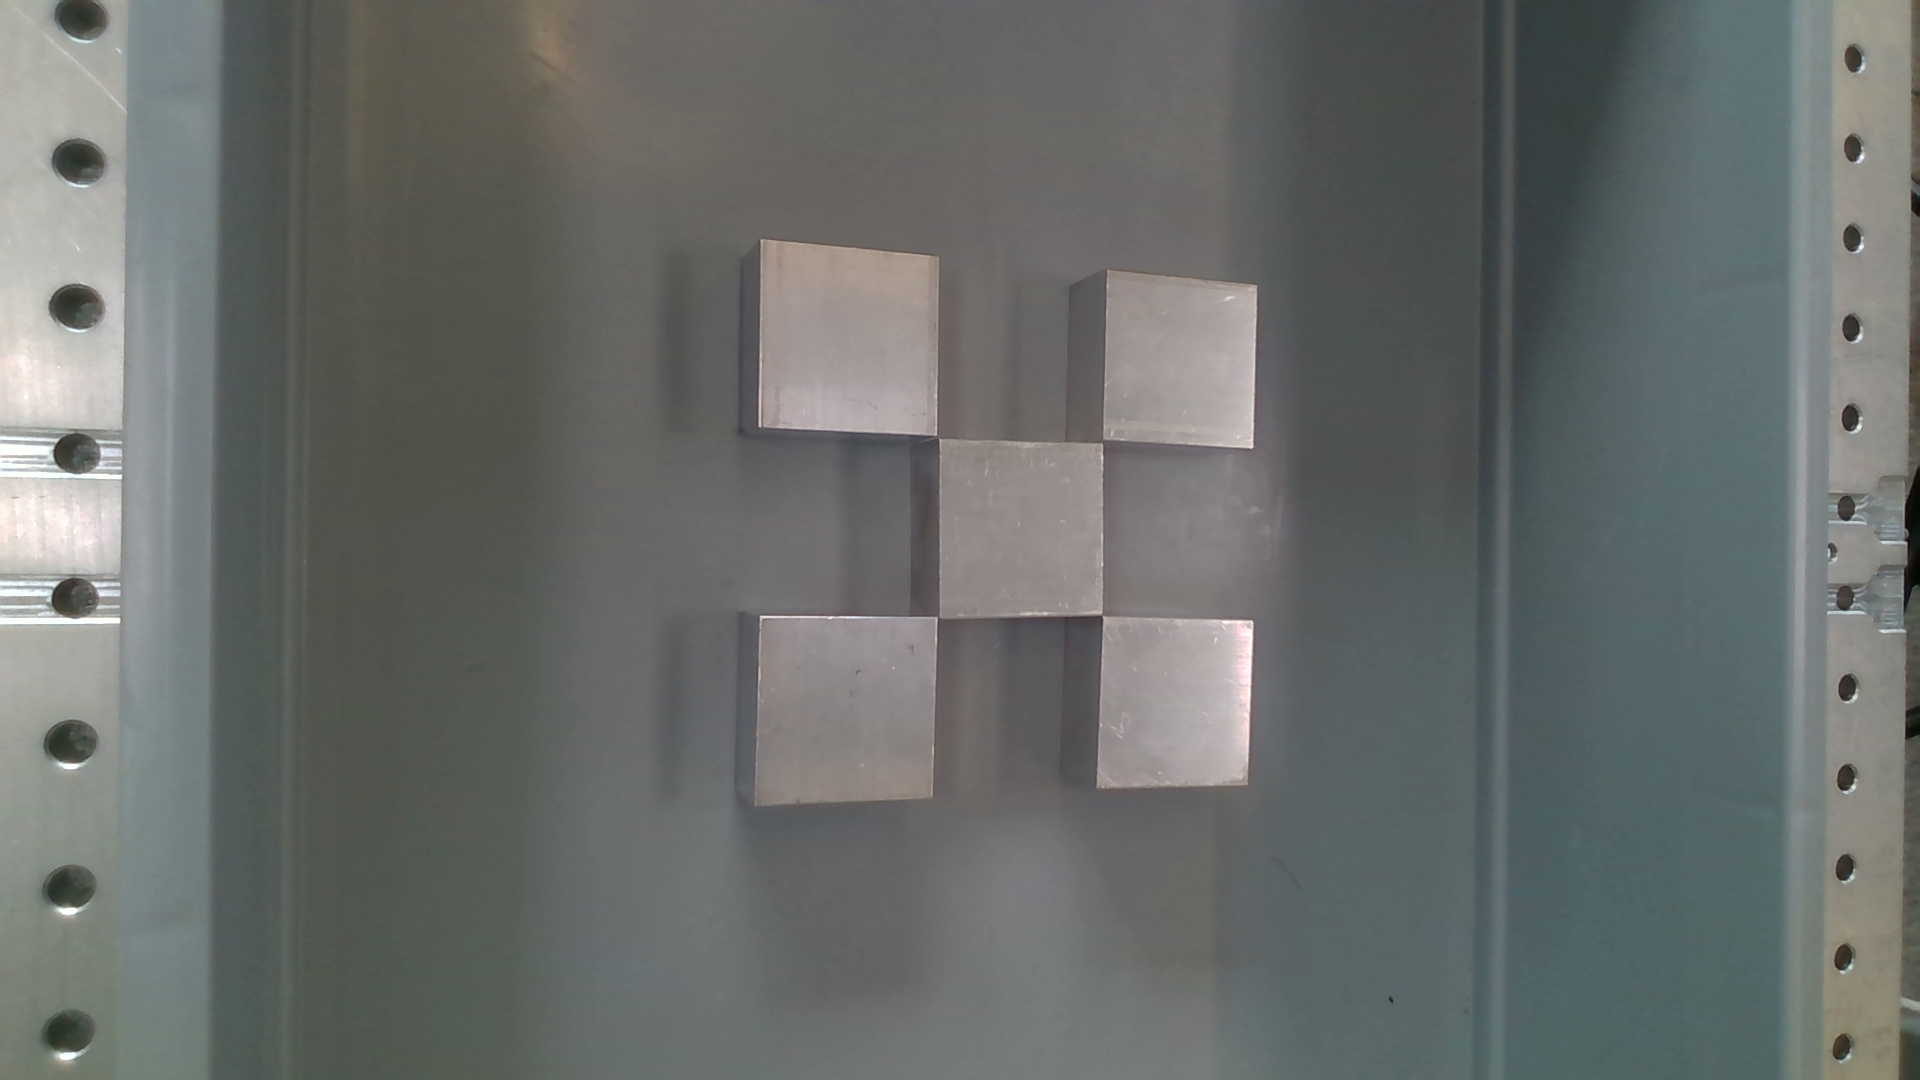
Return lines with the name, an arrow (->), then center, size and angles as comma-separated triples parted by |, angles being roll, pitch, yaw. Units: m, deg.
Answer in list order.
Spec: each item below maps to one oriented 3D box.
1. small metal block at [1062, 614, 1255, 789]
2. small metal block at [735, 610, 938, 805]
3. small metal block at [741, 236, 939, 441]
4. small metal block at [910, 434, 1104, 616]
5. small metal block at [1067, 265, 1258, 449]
small metal block -> 0.060, 0.047, 0.414 | 0.050, 0.025, 0.050 | 2, 89, -20
small metal block -> -0.034, 0.045, 0.380 | 0.050, 0.025, 0.050 | 1, 90, -20
small metal block -> -0.034, -0.054, 0.380 | 0.050, 0.025, 0.050 | 1, 90, -20
small metal block -> 0.013, -0.004, 0.397 | 0.050, 0.025, 0.050 | 0, 90, -20
small metal block -> 0.061, -0.053, 0.415 | 0.050, 0.025, 0.050 | 2, 90, -20
